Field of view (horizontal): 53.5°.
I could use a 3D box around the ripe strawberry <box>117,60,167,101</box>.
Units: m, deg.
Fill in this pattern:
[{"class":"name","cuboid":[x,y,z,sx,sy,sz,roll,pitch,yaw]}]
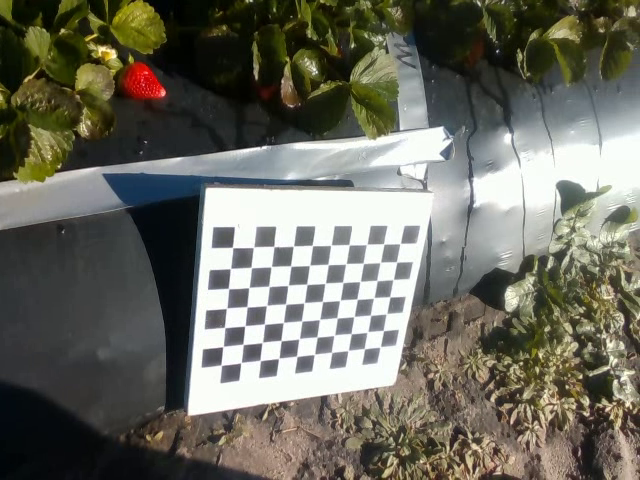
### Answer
[{"class":"ripe strawberry","cuboid":[-0.188,-0.166,0.669,0.058,0.046,0.042,31,4,-14]}]
